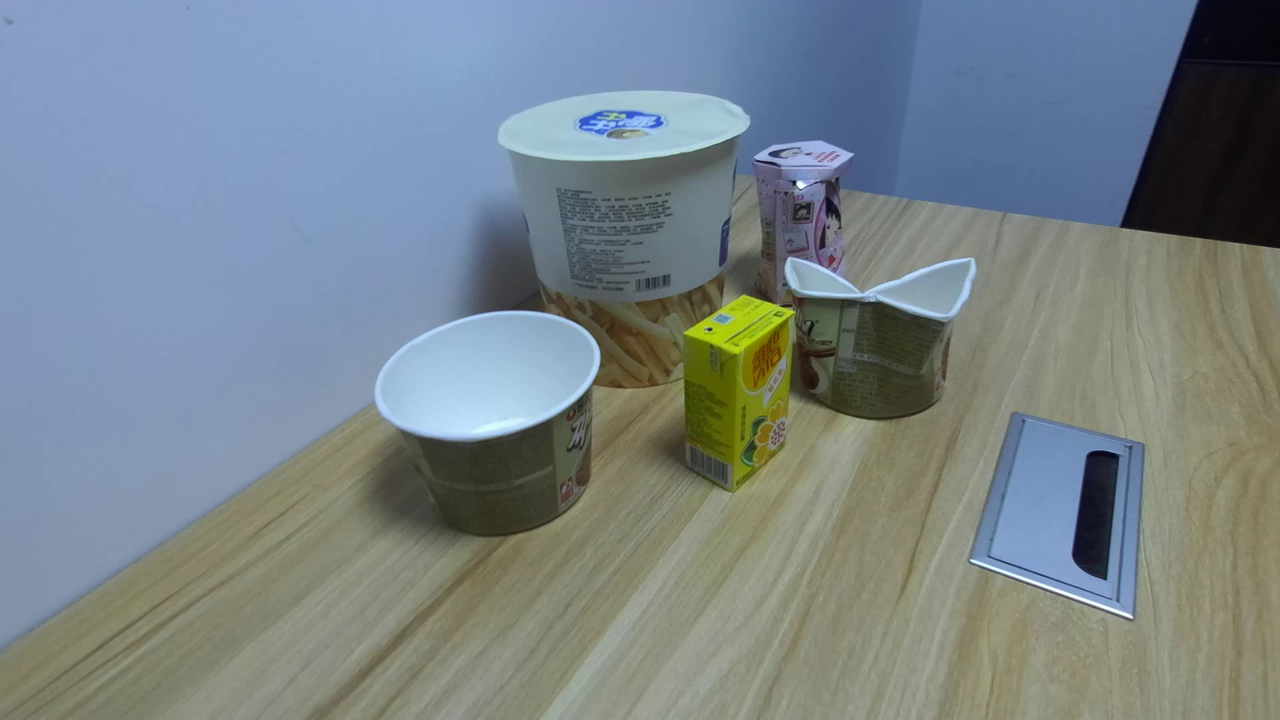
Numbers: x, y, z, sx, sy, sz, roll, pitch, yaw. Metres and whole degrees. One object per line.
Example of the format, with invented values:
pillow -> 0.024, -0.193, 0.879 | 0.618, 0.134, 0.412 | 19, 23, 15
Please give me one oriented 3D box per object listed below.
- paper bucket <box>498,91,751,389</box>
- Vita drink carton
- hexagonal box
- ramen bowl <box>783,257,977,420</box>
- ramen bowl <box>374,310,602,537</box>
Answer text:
paper bucket -> -0.006, -0.097, 0.576 | 0.198, 0.195, 0.198 | -3, 33, 2
Vita drink carton -> 0.064, 0.021, 0.464 | 0.043, 0.109, 0.067 | 24, 41, 36
hexagonal box -> 0.148, -0.126, 0.661 | 0.091, 0.135, 0.090 | -12, 31, -11
ramen bowl -> 0.173, -0.026, 0.538 | 0.128, 0.093, 0.112 | 13, 37, 23
ramen bowl -> -0.093, 0.043, 0.470 | 0.140, 0.095, 0.140 | -2, 33, 2
